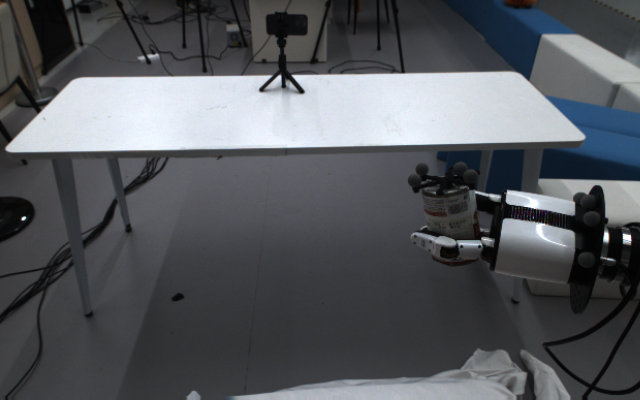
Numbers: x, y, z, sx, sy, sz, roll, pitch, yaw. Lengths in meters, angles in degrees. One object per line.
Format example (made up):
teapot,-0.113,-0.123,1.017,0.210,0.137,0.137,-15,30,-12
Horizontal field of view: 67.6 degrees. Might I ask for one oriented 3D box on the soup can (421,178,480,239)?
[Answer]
soup can,0.175,0.025,0.632,0.067,0.101,0.067,-13,20,5
